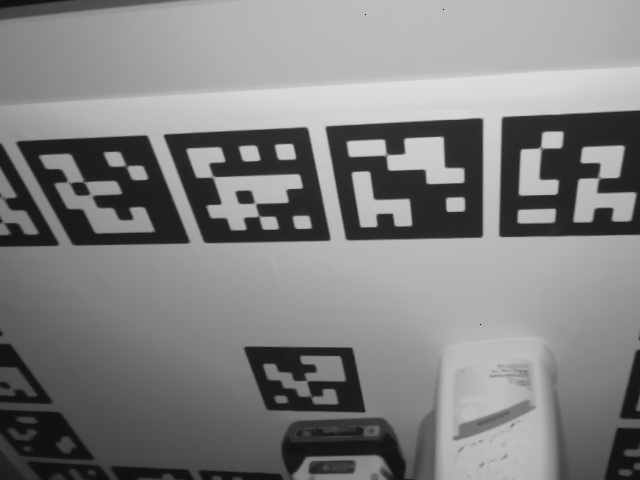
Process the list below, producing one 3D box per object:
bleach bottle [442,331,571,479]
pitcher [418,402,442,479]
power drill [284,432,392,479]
[{"bbox_3d":[0.136,0.177,0.480,0.102,0.253,0.067,-9,126,15],"label":"bleach bottle"},{"bbox_3d":[0.144,0.244,0.559,0.186,0.245,0.133,-26,119,26],"label":"pitcher"},{"bbox_3d":[-0.017,0.259,0.606,0.183,0.189,0.057,-3,125,18],"label":"power drill"}]
